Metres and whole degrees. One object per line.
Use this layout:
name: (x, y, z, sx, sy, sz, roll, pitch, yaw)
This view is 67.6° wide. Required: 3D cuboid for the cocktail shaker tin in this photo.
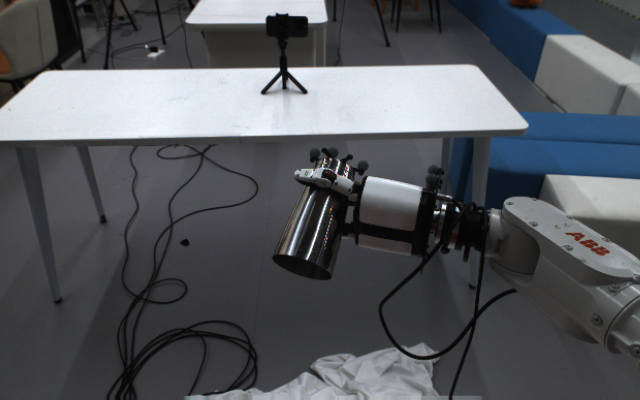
cocktail shaker tin: (0.001, 0.021, 0.730, 0.093, 0.093, 0.170, 13, 65, 15)
